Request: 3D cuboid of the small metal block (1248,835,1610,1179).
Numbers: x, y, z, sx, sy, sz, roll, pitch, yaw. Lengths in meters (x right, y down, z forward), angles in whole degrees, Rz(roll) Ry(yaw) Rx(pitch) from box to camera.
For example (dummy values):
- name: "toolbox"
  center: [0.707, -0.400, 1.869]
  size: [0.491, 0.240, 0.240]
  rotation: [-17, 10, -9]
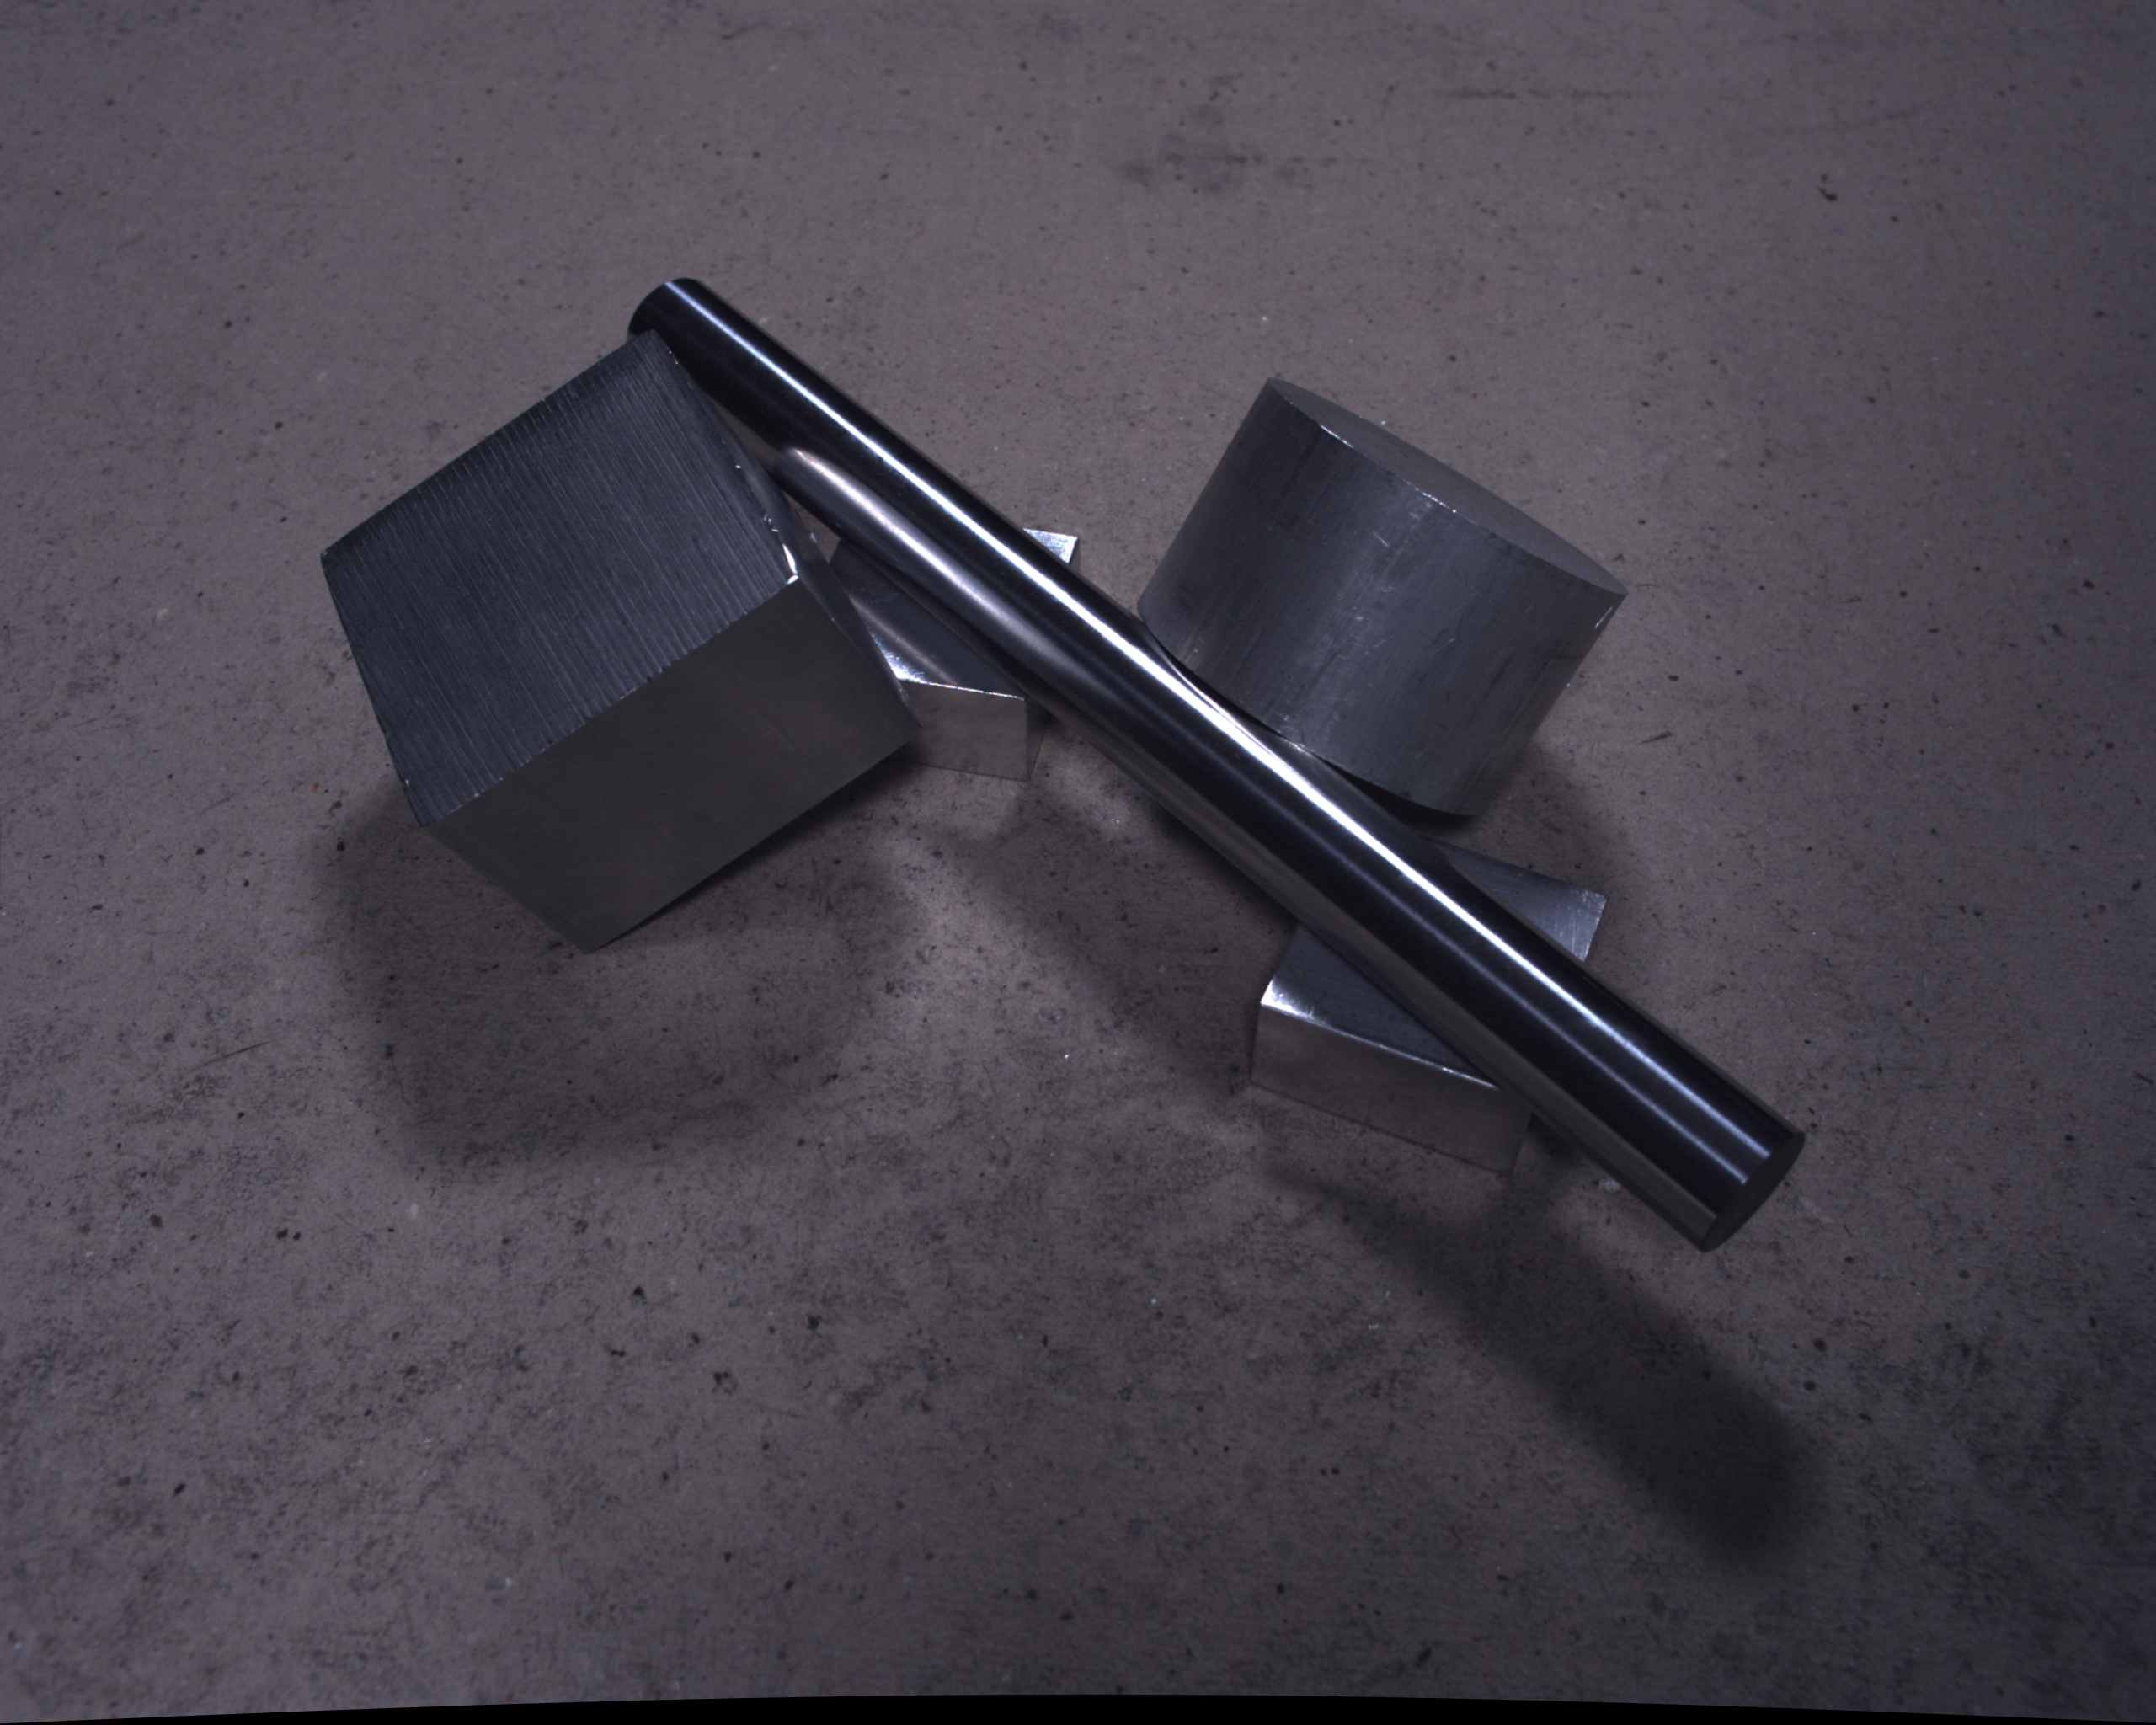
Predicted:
- name: "small metal block"
  center: [0.065, 0.024, 0.386]
  size: [0.050, 0.025, 0.050]
  rotation: [19, 52, 15]

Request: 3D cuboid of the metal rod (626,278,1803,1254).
- name: "metal rod"
  center: [0.007, -0.034, 0.401]
  size: [0.025, 0.025, 0.300]
  rotation: [-34, 58, -25]

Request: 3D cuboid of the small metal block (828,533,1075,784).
- name: "small metal block"
  center: [-0.031, -0.047, 0.444]
  size: [0.050, 0.025, 0.050]
  rotation: [10, 51, 7]

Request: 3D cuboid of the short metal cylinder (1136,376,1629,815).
- name: "short metal cylinder"
  center: [0.059, -0.052, 0.407]
  size: [0.080, 0.050, 0.080]
  rotation: [28, 18, -10]

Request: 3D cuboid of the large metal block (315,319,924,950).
- name: "large metal block"
  center: [-0.089, -0.044, 0.403]
  size: [0.080, 0.050, 0.080]
  rotation: [-34, 55, 3]
